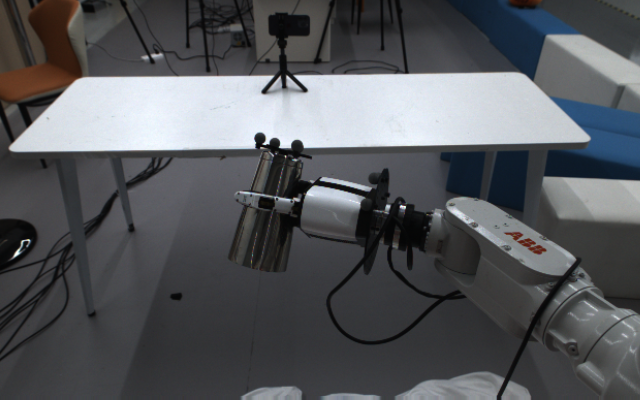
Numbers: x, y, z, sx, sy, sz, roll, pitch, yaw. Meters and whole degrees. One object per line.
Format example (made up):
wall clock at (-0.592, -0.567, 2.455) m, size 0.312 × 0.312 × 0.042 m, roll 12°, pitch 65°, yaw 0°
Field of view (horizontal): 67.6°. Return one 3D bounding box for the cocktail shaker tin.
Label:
cocktail shaker tin at (-0.078, 0.015, 0.741) m, size 0.093 × 0.170 × 0.093 m, roll 13°, pitch 2°, yaw 0°
